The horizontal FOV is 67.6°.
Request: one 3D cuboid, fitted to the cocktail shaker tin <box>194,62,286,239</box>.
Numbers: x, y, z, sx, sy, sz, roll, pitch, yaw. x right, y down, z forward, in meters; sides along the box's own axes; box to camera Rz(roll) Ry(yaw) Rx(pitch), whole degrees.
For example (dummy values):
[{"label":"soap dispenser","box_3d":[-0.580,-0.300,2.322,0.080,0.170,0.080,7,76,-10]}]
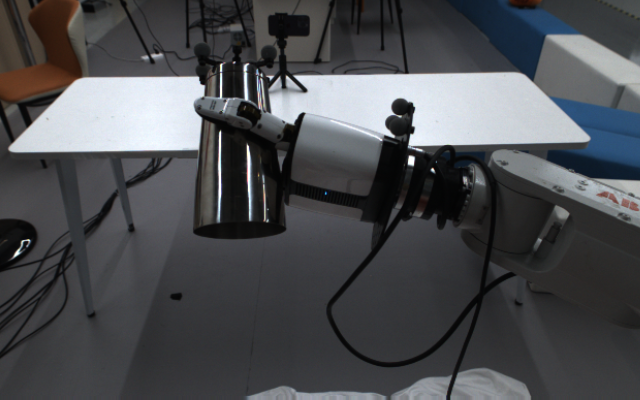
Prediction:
[{"label":"cocktail shaker tin","box_3d":[-0.084,-0.049,0.502,0.093,0.093,0.170,-3,76,-7]}]
